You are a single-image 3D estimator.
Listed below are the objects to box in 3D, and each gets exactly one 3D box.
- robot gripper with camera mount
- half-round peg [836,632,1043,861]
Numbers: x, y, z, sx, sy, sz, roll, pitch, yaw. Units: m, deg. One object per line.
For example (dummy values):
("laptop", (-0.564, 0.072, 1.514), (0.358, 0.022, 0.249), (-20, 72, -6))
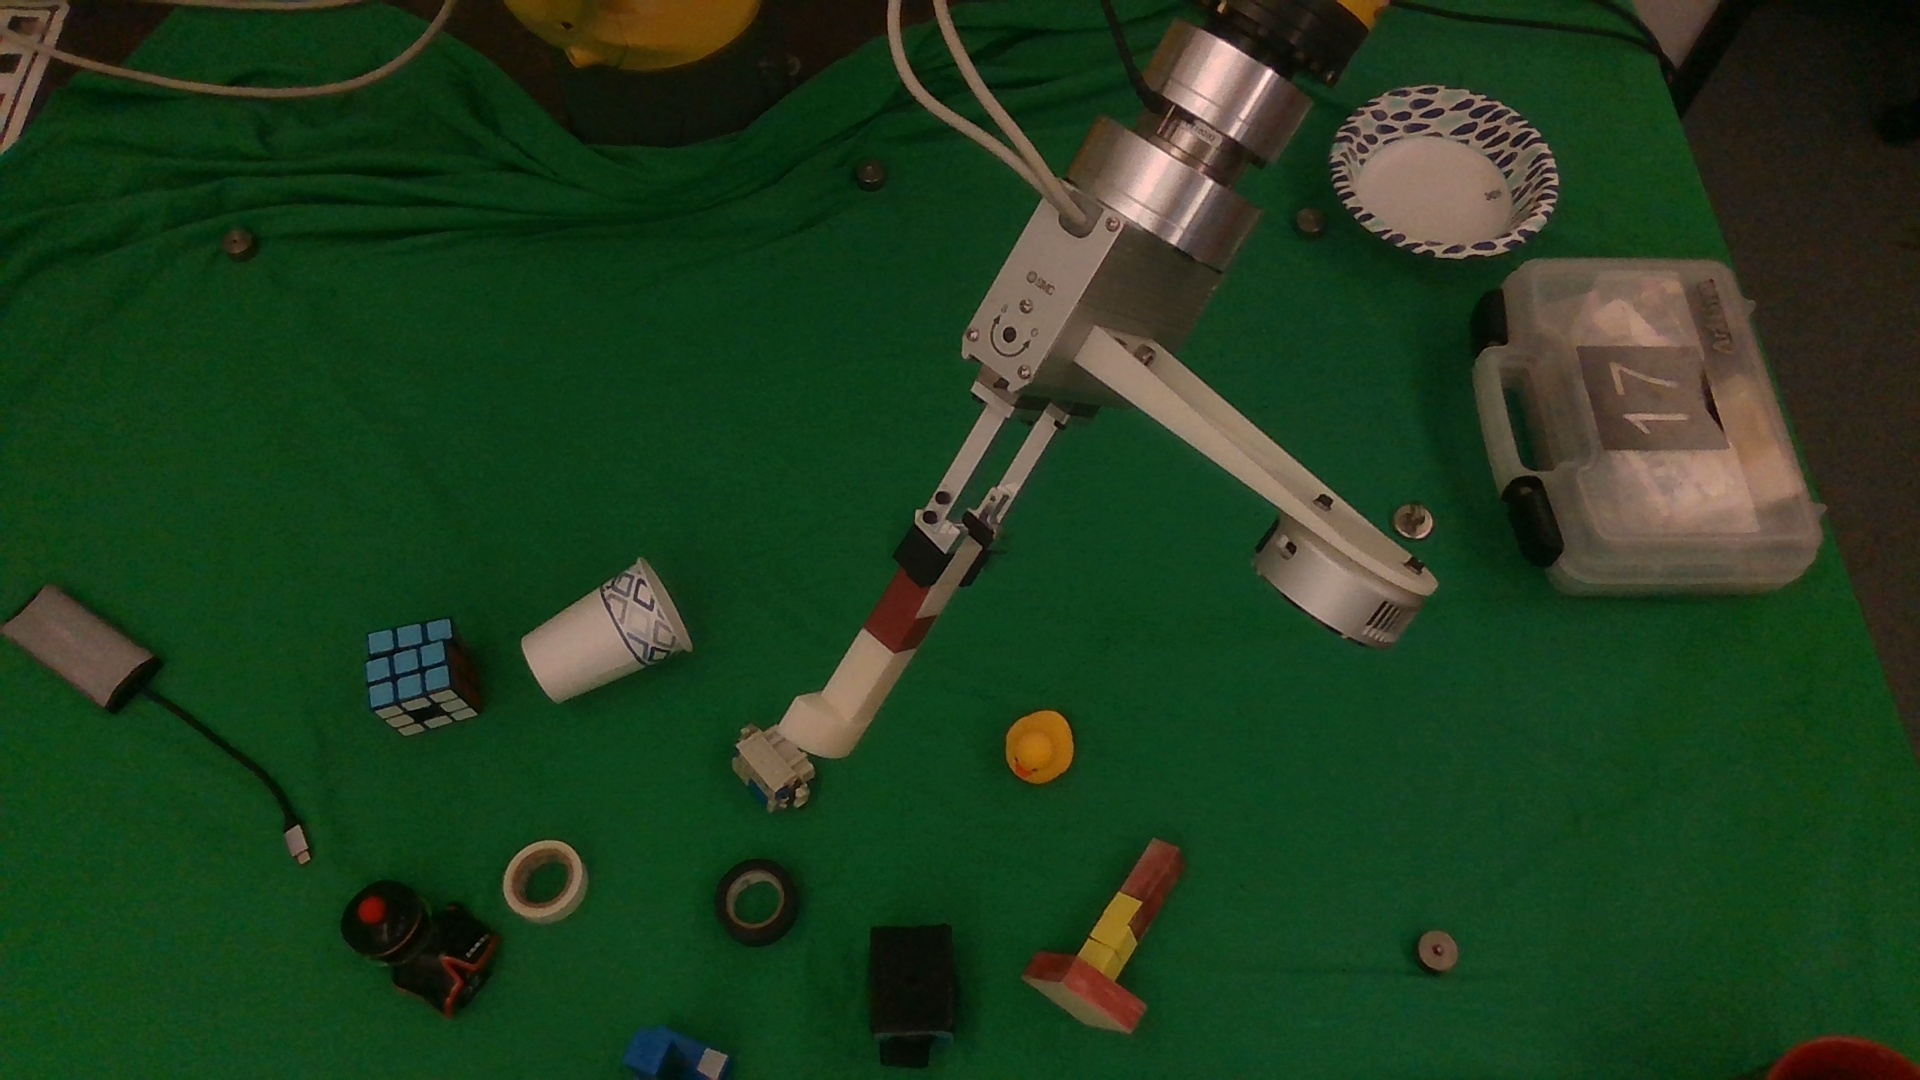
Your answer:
("robot gripper with camera mount", (0.112, 0.048, 0.560), (0.194, 0.118, 0.159), (38, 112, 24))
("half-round peg", (-0.006, 0.092, 0.625), (0.031, 0.054, 0.122), (43, 113, 24))
